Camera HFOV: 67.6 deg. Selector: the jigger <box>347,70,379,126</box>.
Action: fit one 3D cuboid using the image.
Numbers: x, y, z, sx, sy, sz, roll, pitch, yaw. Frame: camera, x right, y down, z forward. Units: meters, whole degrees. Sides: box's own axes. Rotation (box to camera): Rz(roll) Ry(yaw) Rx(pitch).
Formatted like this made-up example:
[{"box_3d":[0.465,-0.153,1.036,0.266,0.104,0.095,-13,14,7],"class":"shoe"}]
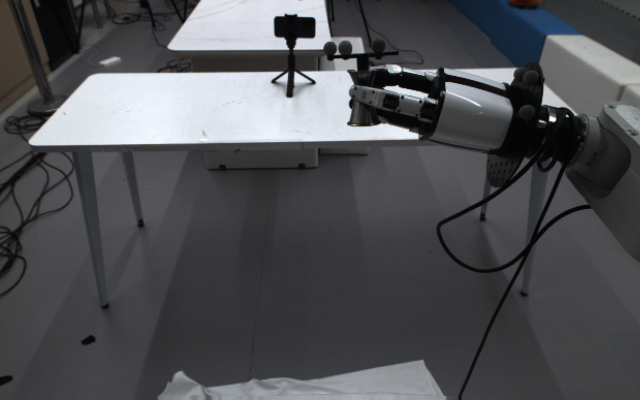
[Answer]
[{"box_3d":[0.055,-0.131,0.618,0.043,0.071,0.043,-2,19,1],"class":"jigger"}]
